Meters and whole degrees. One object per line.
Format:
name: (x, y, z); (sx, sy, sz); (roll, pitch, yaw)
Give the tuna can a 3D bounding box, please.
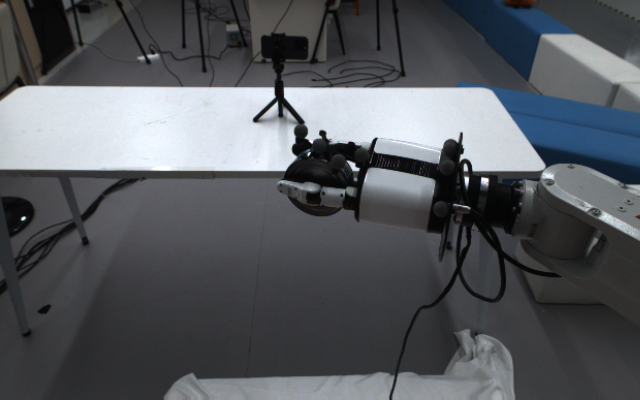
tuna can: (0.001, -0.025, 0.620); (0.085, 0.085, 0.034); (12, 33, 14)
